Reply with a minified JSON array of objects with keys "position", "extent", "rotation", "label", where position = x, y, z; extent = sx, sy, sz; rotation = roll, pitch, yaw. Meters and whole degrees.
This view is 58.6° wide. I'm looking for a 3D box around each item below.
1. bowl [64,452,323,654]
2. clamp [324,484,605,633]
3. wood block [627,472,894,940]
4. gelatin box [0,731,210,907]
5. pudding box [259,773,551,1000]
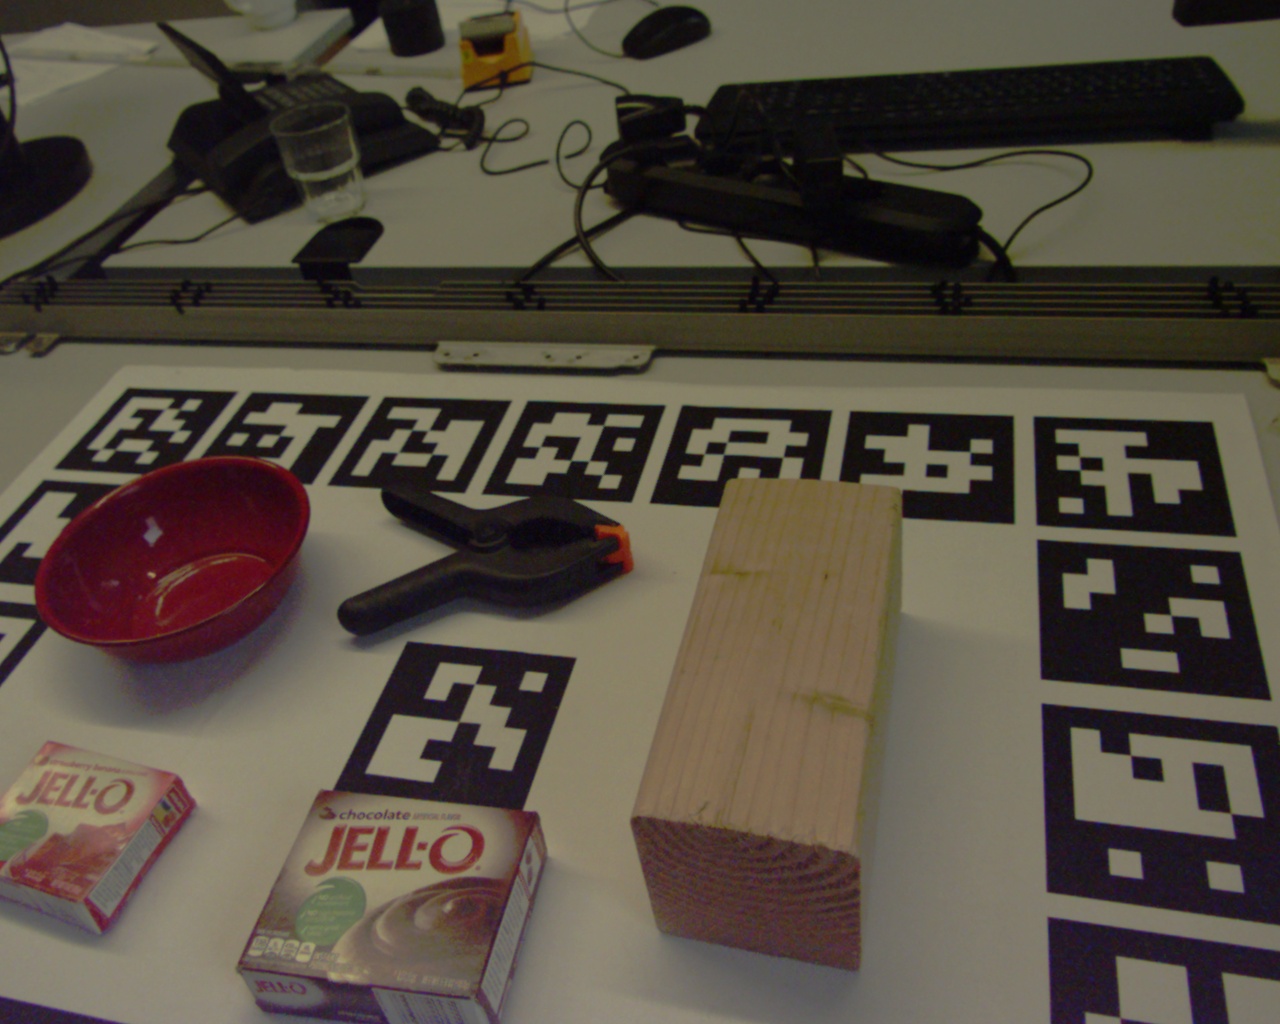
[{"position":[-0.272,0.035,0.720],"extent":[0.162,0.055,0.162],"rotation":[-6,45,5],"label":"bowl"},{"position":[-0.105,0.024,0.712],"extent":[0.165,0.036,0.122],"rotation":[-3,42,6],"label":"clamp"},{"position":[0.068,0.084,0.555],"extent":[0.090,0.090,0.206],"rotation":[6,45,16],"label":"wood block"},{"position":[-0.285,0.156,0.597],"extent":[0.090,0.030,0.073],"rotation":[9,47,21],"label":"gelatin box"},{"position":[-0.107,0.174,0.535],"extent":[0.115,0.038,0.090],"rotation":[1,47,17],"label":"pudding box"}]
